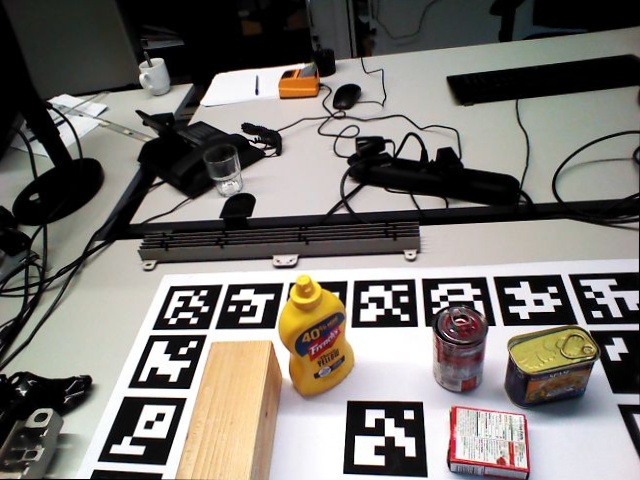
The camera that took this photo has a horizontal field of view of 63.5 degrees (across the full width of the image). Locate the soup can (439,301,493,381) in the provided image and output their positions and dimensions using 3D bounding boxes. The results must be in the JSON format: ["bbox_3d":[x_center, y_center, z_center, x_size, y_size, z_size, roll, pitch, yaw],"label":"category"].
[{"bbox_3d":[0.190,0.128,0.670,0.068,0.102,0.067,-8,42,7],"label":"soup can"}]

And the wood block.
[{"bbox_3d":[-0.106,0.230,0.651,0.091,0.090,0.205,-2,37,10],"label":"wood block"}]

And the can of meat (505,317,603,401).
[{"bbox_3d":[0.287,0.151,0.647,0.102,0.084,0.057,-11,41,-2],"label":"can of meat"}]

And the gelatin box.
[{"bbox_3d":[0.206,0.234,0.606,0.090,0.030,0.073,2,44,20],"label":"gelatin box"}]

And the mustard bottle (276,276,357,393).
[{"bbox_3d":[-0.007,0.120,0.681,0.096,0.192,0.058,-19,40,-10],"label":"mustard bottle"}]
